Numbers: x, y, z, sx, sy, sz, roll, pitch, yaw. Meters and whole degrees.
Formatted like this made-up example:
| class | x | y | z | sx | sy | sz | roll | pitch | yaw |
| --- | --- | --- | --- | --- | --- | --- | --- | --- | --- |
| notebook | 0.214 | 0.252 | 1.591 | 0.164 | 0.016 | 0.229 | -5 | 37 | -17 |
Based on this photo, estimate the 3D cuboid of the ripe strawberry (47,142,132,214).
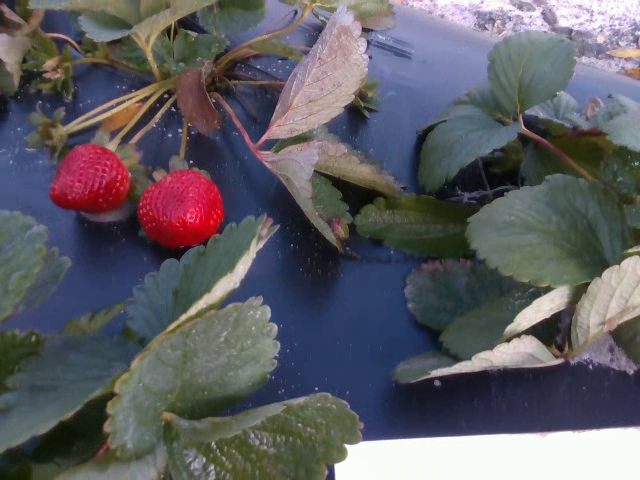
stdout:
| class | x | y | z | sx | sy | sz | roll | pitch | yaw |
| --- | --- | --- | --- | --- | --- | --- | --- | --- | --- |
| ripe strawberry | -0.140 | -0.034 | 0.366 | 0.048 | 0.041 | 0.056 | 9 | 33 | 7 |

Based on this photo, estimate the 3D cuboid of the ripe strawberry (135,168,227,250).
| class | x | y | z | sx | sy | sz | roll | pitch | yaw |
| --- | --- | --- | --- | --- | --- | --- | --- | --- | --- |
| ripe strawberry | -0.082 | -0.021 | 0.348 | 0.057 | 0.051 | 0.064 | -19 | 25 | -13 |
